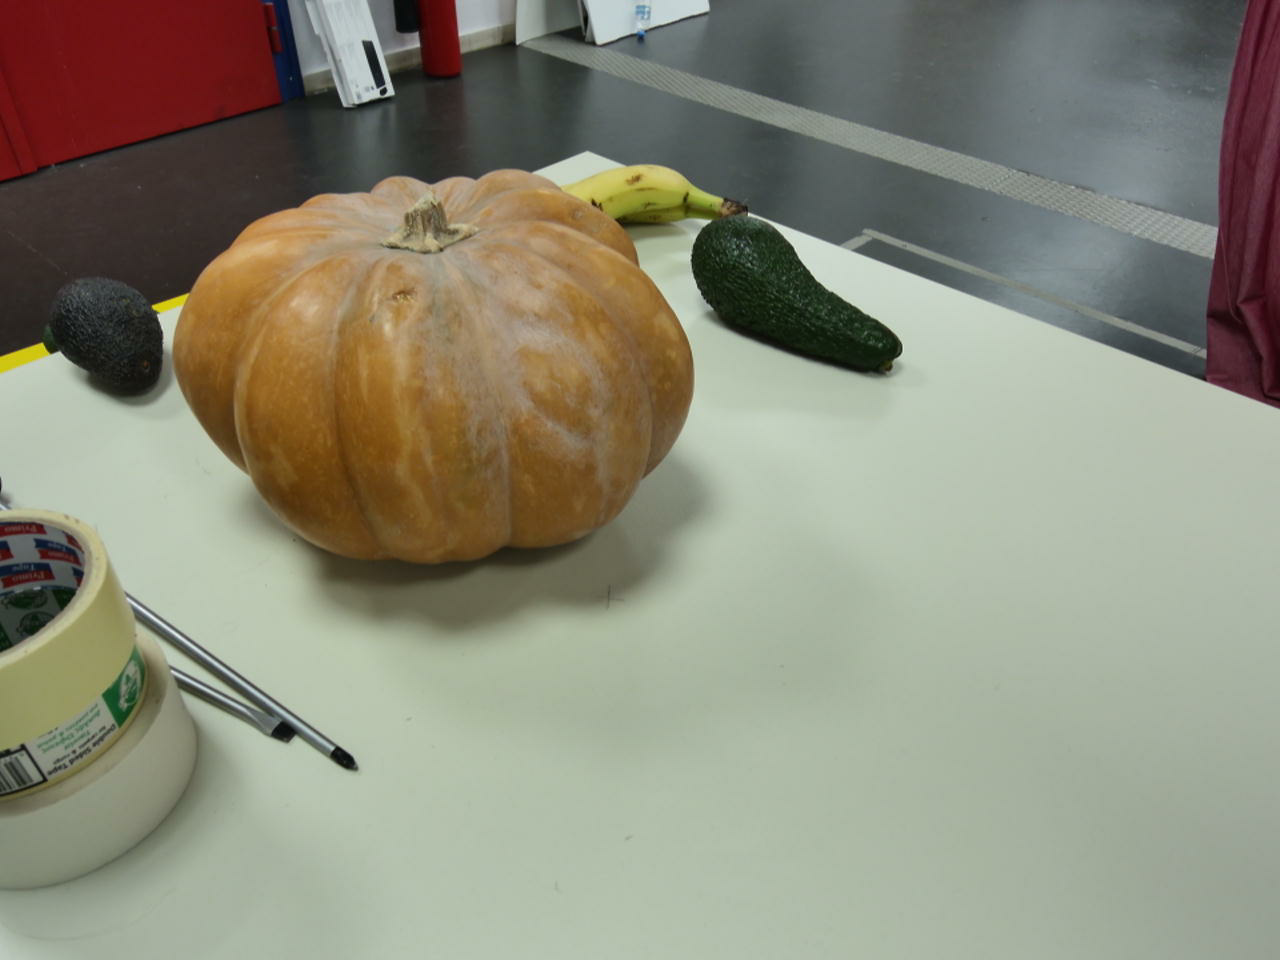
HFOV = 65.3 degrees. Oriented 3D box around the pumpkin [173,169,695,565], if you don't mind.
[{"bbox_3d":[-0.107,-0.066,0.554,0.277,0.181,0.277,0,38,0],"label":"pumpkin"}]
